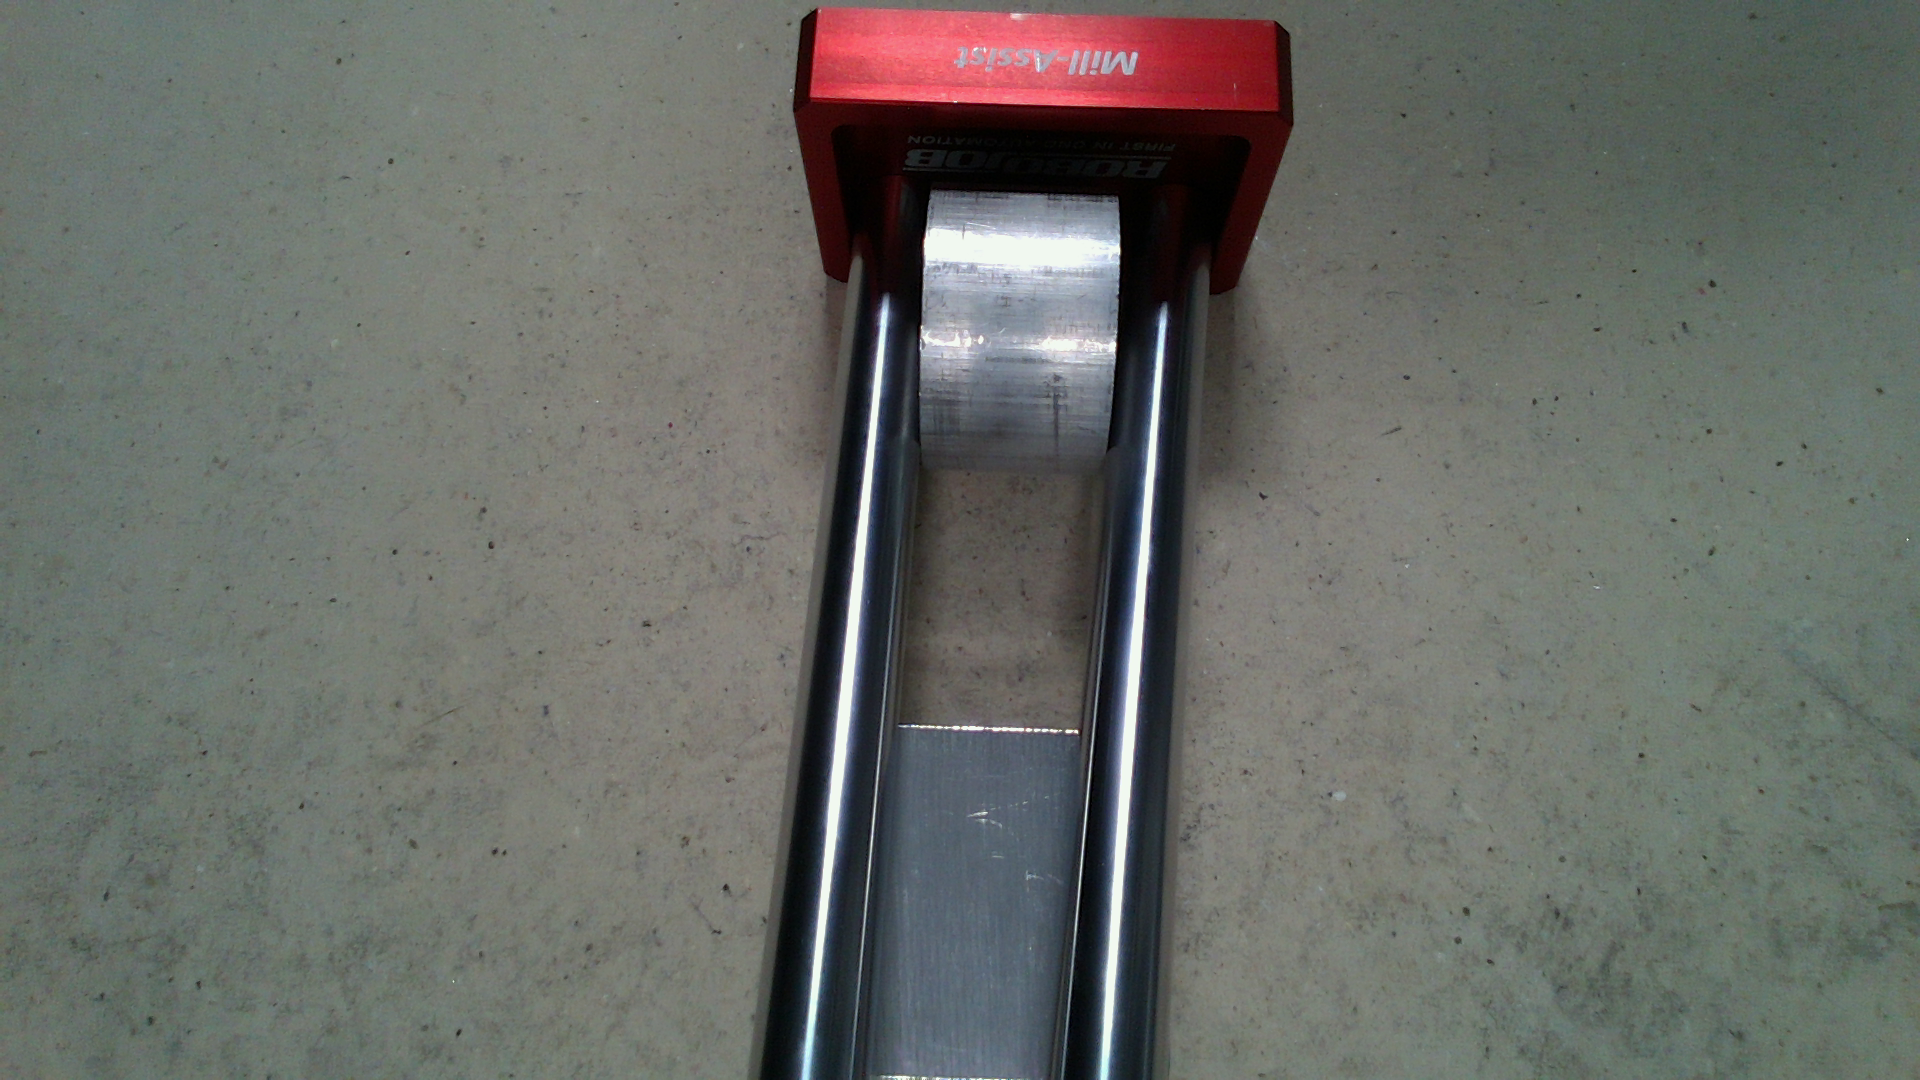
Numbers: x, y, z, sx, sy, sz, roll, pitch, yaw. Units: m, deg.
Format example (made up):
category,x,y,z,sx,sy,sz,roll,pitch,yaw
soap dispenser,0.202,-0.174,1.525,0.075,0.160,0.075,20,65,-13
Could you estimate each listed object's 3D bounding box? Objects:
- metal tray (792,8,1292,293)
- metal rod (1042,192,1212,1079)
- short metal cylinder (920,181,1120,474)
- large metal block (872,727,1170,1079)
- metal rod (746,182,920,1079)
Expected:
category,x,y,z,sx,sy,sz,roll,pitch,yaw
metal tray,0.022,-0.110,0.400,0.130,0.090,0.030,2,70,1
metal rod,0.044,0.025,0.336,0.025,0.025,0.300,8,55,3
short metal cylinder,0.016,-0.059,0.388,0.050,0.080,0.080,2,70,0
large metal block,0.008,0.093,0.345,0.080,0.050,0.080,2,70,1
metal rod,-0.027,0.022,0.338,0.025,0.025,0.300,2,55,1
